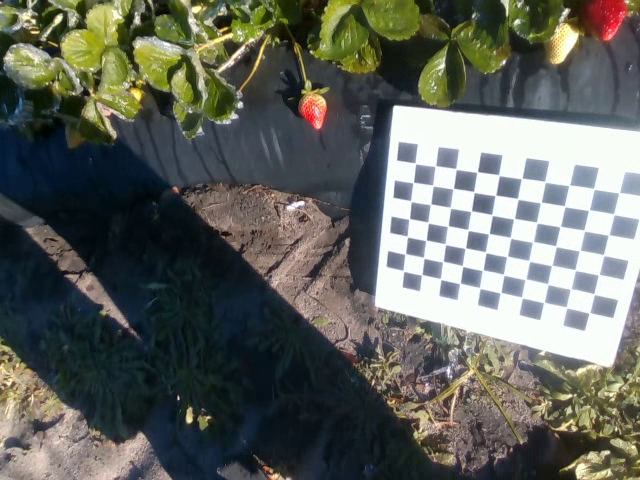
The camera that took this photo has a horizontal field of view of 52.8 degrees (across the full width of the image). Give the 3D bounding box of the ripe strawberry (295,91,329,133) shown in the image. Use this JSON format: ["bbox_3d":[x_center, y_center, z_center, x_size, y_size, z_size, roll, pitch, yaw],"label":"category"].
[{"bbox_3d":[-0.004,-0.159,0.774,0.039,0.053,0.040,-11,-2,30],"label":"ripe strawberry"}]
